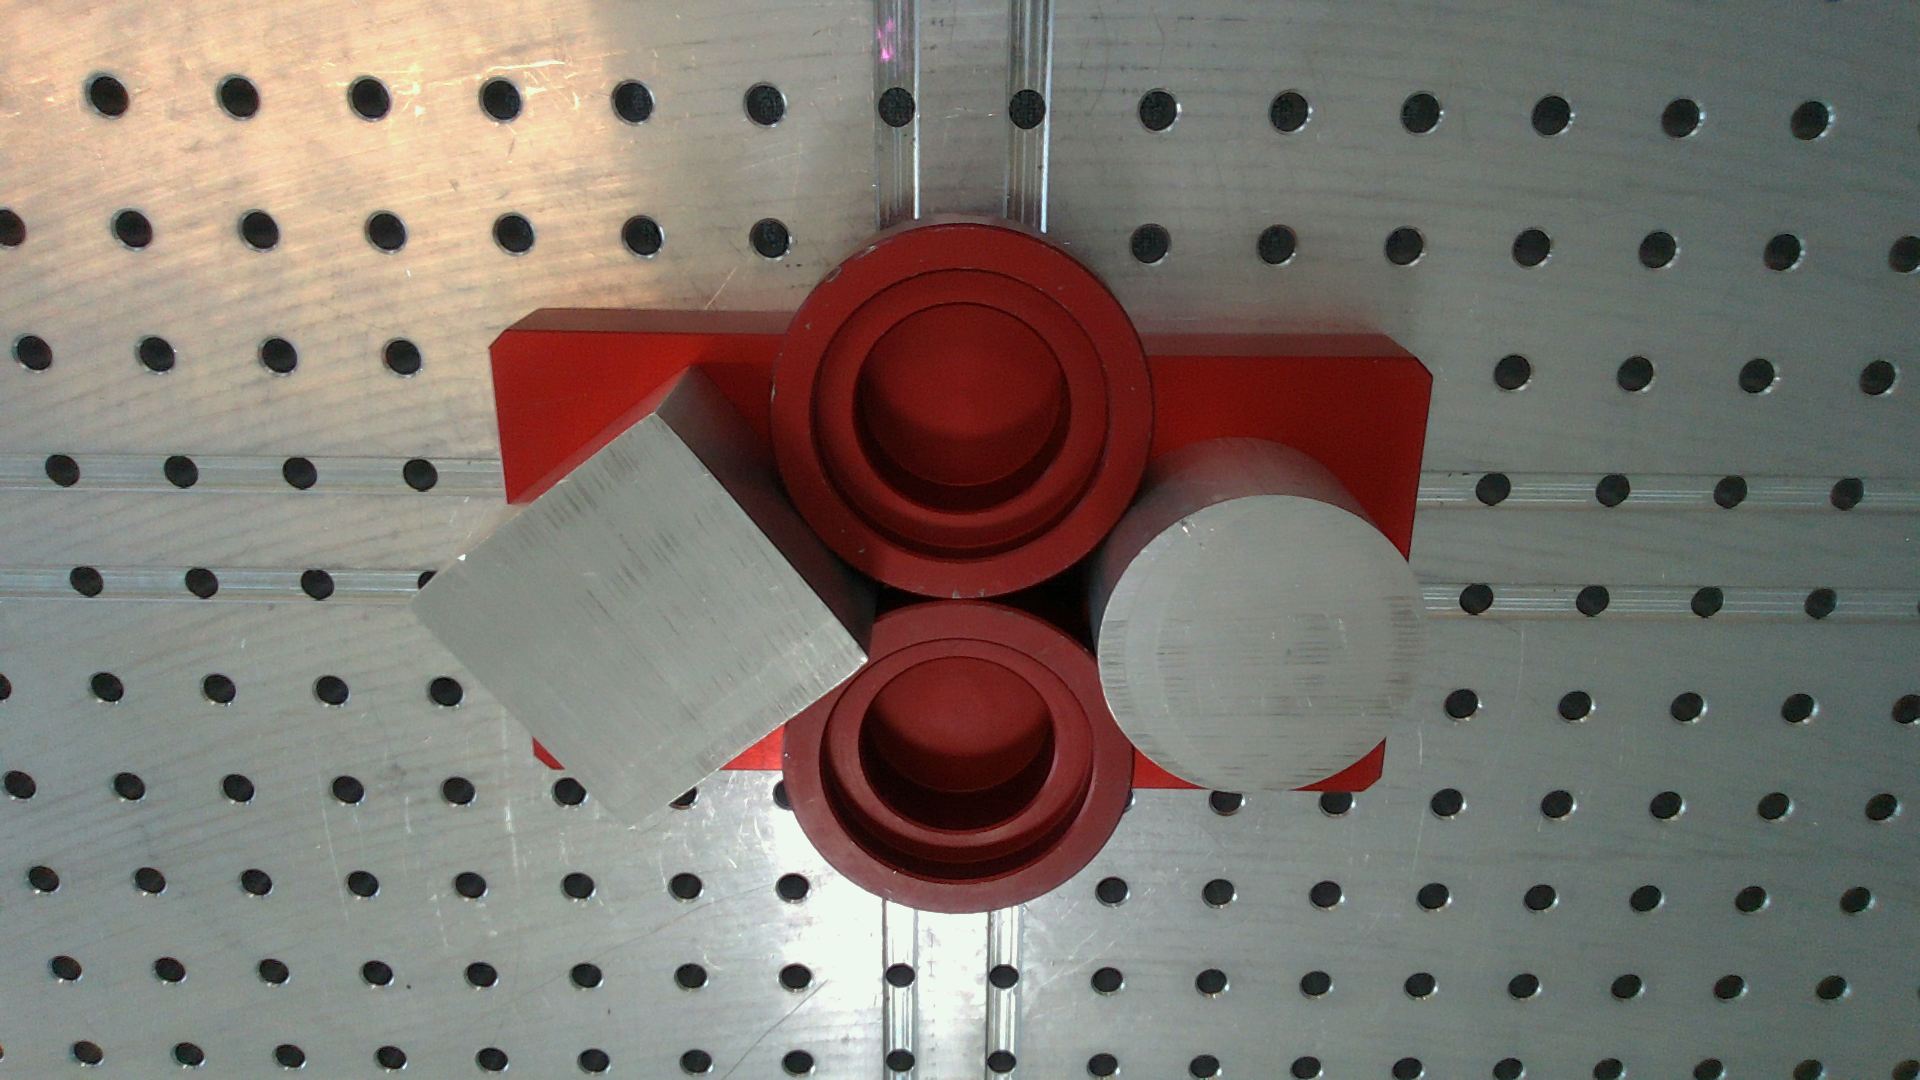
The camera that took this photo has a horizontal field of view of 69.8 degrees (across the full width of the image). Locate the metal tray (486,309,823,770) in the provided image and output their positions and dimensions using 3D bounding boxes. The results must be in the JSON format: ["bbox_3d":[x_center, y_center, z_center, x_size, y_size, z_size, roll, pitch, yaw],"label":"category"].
[{"bbox_3d":[-0.079,0.001,0.393,0.090,0.030,0.130,0,110,-1],"label":"metal tray"}]

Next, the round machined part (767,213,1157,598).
[{"bbox_3d":[0.001,-0.038,0.364,0.098,0.042,0.098,0,110,0],"label":"round machined part"}]

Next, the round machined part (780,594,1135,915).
[{"bbox_3d":[-0.001,0.055,0.398,0.098,0.042,0.098,0,110,0],"label":"round machined part"}]

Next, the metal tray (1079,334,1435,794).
[{"bbox_3d":[0.079,0.008,0.395,0.090,0.030,0.130,1,110,0],"label":"metal tray"}]

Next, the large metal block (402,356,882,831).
[{"bbox_3d":[-0.077,0.013,0.355,0.080,0.050,0.080,-35,107,12],"label":"large metal block"}]

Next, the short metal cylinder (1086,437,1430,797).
[{"bbox_3d":[0.074,0.019,0.357,0.080,0.050,0.080,0,110,0],"label":"short metal cylinder"}]
